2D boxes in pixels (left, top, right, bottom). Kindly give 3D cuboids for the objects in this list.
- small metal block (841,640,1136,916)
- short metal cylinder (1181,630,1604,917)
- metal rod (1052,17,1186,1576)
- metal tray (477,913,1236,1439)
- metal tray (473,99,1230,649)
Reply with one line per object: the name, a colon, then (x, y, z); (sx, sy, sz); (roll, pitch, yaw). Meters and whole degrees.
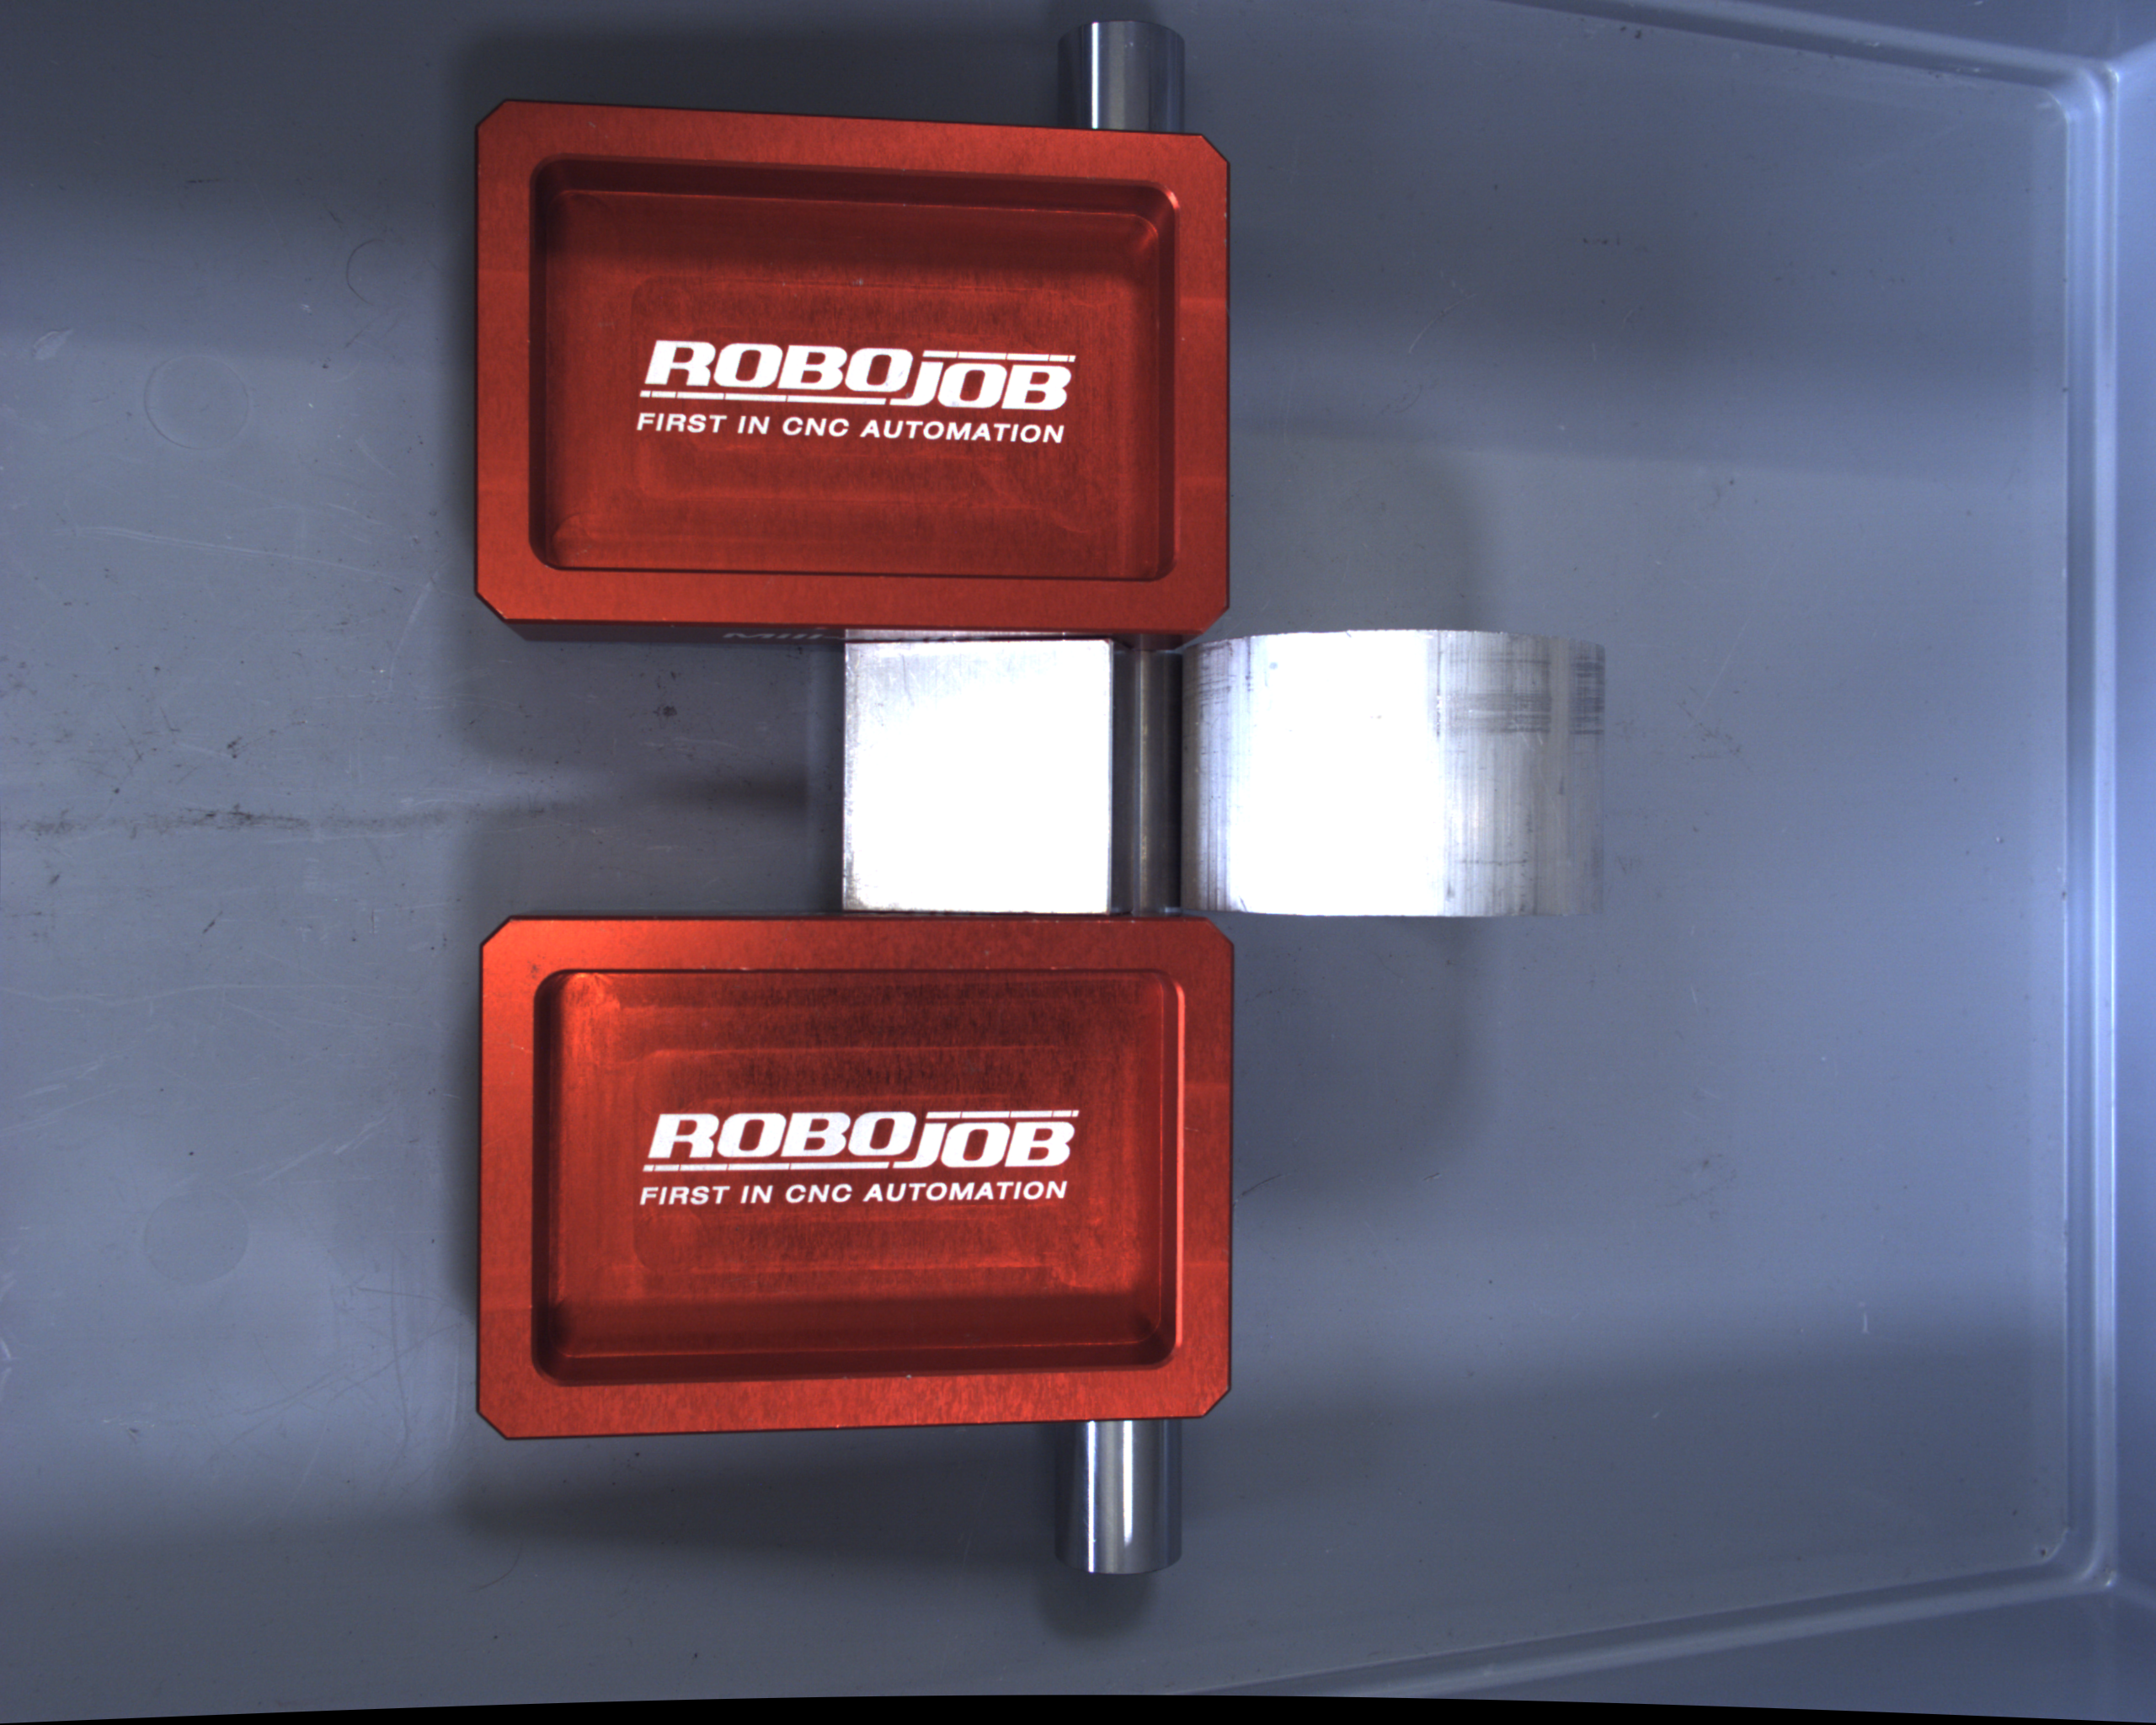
small metal block: (-0.016, -0.016, 0.392); (0.050, 0.025, 0.050); (1, 90, 11)
short metal cylinder: (0.060, -0.016, 0.402); (0.081, 0.080, 0.050); (0, 90, -20)
metal rod: (0.008, -0.013, 0.411); (0.025, 0.025, 0.298); (0, 90, -20)
metal tray: (-0.039, 0.054, 0.377); (0.131, 0.030, 0.089); (0, 90, -8)
metal tray: (-0.040, -0.085, 0.377); (0.131, 0.030, 0.089); (0, 90, -8)
